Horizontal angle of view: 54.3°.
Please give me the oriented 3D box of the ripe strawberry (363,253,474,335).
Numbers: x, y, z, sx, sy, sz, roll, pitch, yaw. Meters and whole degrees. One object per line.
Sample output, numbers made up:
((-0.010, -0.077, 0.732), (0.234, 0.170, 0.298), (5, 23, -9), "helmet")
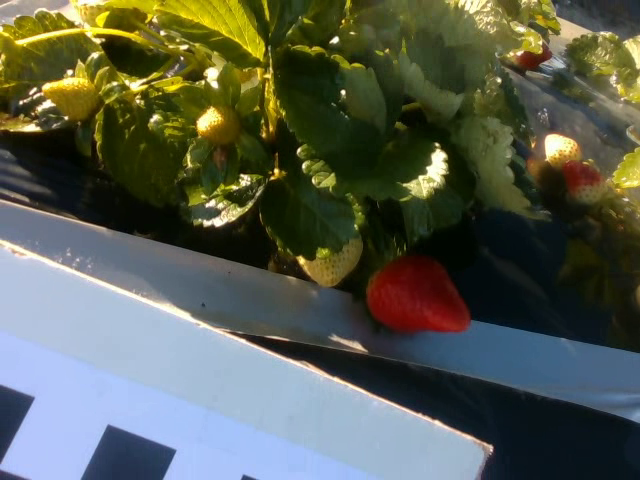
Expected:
((0.046, 0.028, 0.286), (0.045, 0.049, 0.063), (-42, 33, -11), "ripe strawberry")
